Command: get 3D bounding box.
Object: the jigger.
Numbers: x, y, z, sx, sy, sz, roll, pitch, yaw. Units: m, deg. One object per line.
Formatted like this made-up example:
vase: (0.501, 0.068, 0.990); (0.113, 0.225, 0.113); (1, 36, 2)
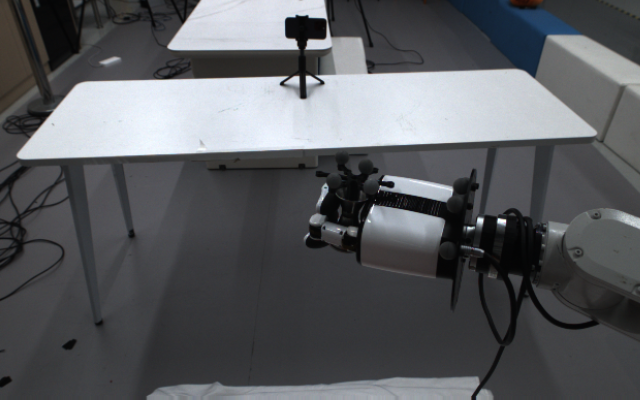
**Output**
jigger: (0.036, 0.023, 0.570); (0.043, 0.071, 0.043); (6, 26, -3)
